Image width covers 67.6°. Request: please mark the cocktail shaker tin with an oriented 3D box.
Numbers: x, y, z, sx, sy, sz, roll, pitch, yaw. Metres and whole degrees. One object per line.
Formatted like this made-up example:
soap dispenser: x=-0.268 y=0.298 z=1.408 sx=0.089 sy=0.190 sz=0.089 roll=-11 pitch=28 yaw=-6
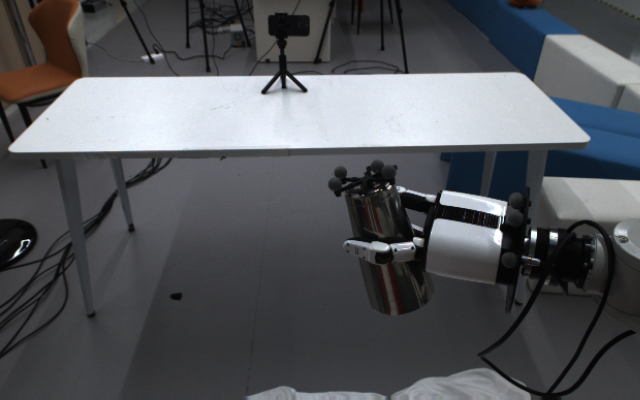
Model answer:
cocktail shaker tin: x=0.089 y=0.056 z=0.645 sx=0.093 sy=0.170 sz=0.093 roll=-17 pitch=20 yaw=7
